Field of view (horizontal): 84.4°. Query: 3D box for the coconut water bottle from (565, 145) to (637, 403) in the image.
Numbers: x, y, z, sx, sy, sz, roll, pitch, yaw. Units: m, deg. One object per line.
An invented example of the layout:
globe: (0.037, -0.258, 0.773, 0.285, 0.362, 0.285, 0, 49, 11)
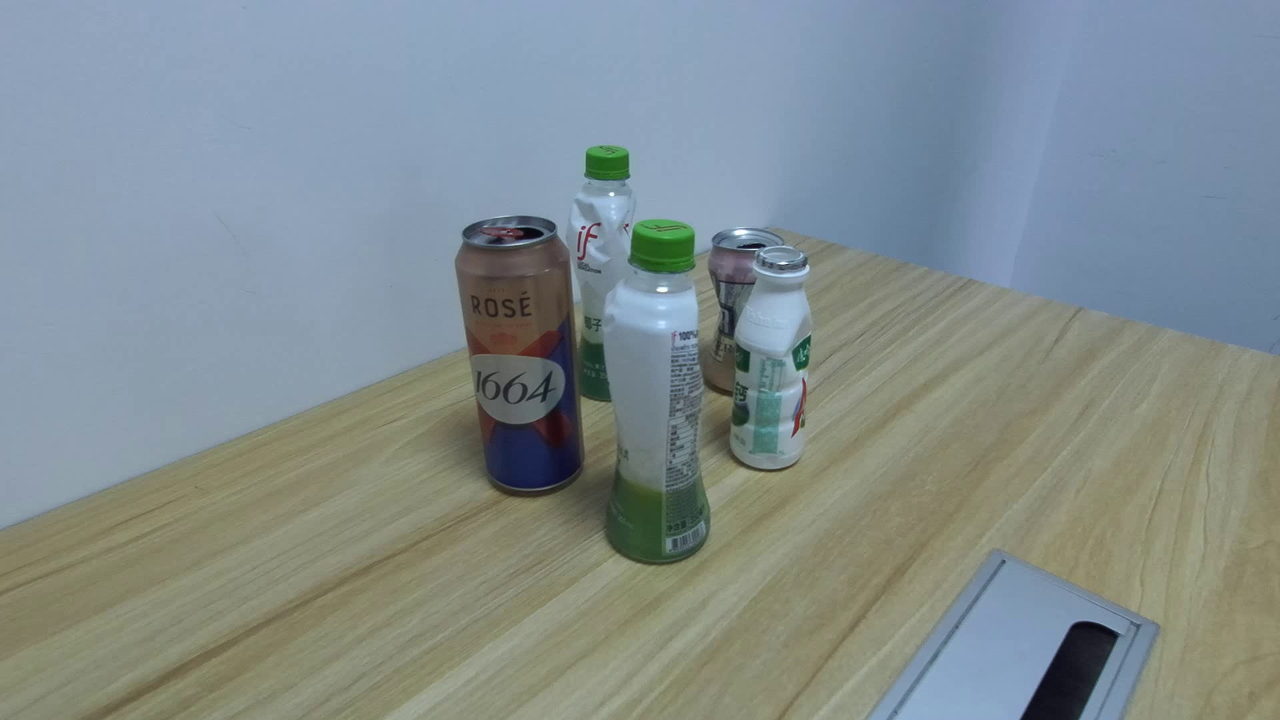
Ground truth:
coconut water bottle: (-0.020, -0.063, 0.532, 0.067, 0.187, 0.067, -2, 26, 1)

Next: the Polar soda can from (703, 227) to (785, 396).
Polar soda can: (0.084, -0.038, 0.553, 0.074, 0.122, 0.067, -24, 34, -33)

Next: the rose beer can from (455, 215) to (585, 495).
rose beer can: (-0.072, 0.000, 0.447, 0.068, 0.169, 0.068, -2, 26, 1)

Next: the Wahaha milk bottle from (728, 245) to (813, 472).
Wahaha milk bottle: (0.087, 0.000, 0.456, 0.056, 0.148, 0.056, 0, 27, 0)

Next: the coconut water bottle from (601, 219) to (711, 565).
coconut water bottle: (0.009, 0.019, 0.381, 0.069, 0.187, 0.069, -1, 26, 1)
